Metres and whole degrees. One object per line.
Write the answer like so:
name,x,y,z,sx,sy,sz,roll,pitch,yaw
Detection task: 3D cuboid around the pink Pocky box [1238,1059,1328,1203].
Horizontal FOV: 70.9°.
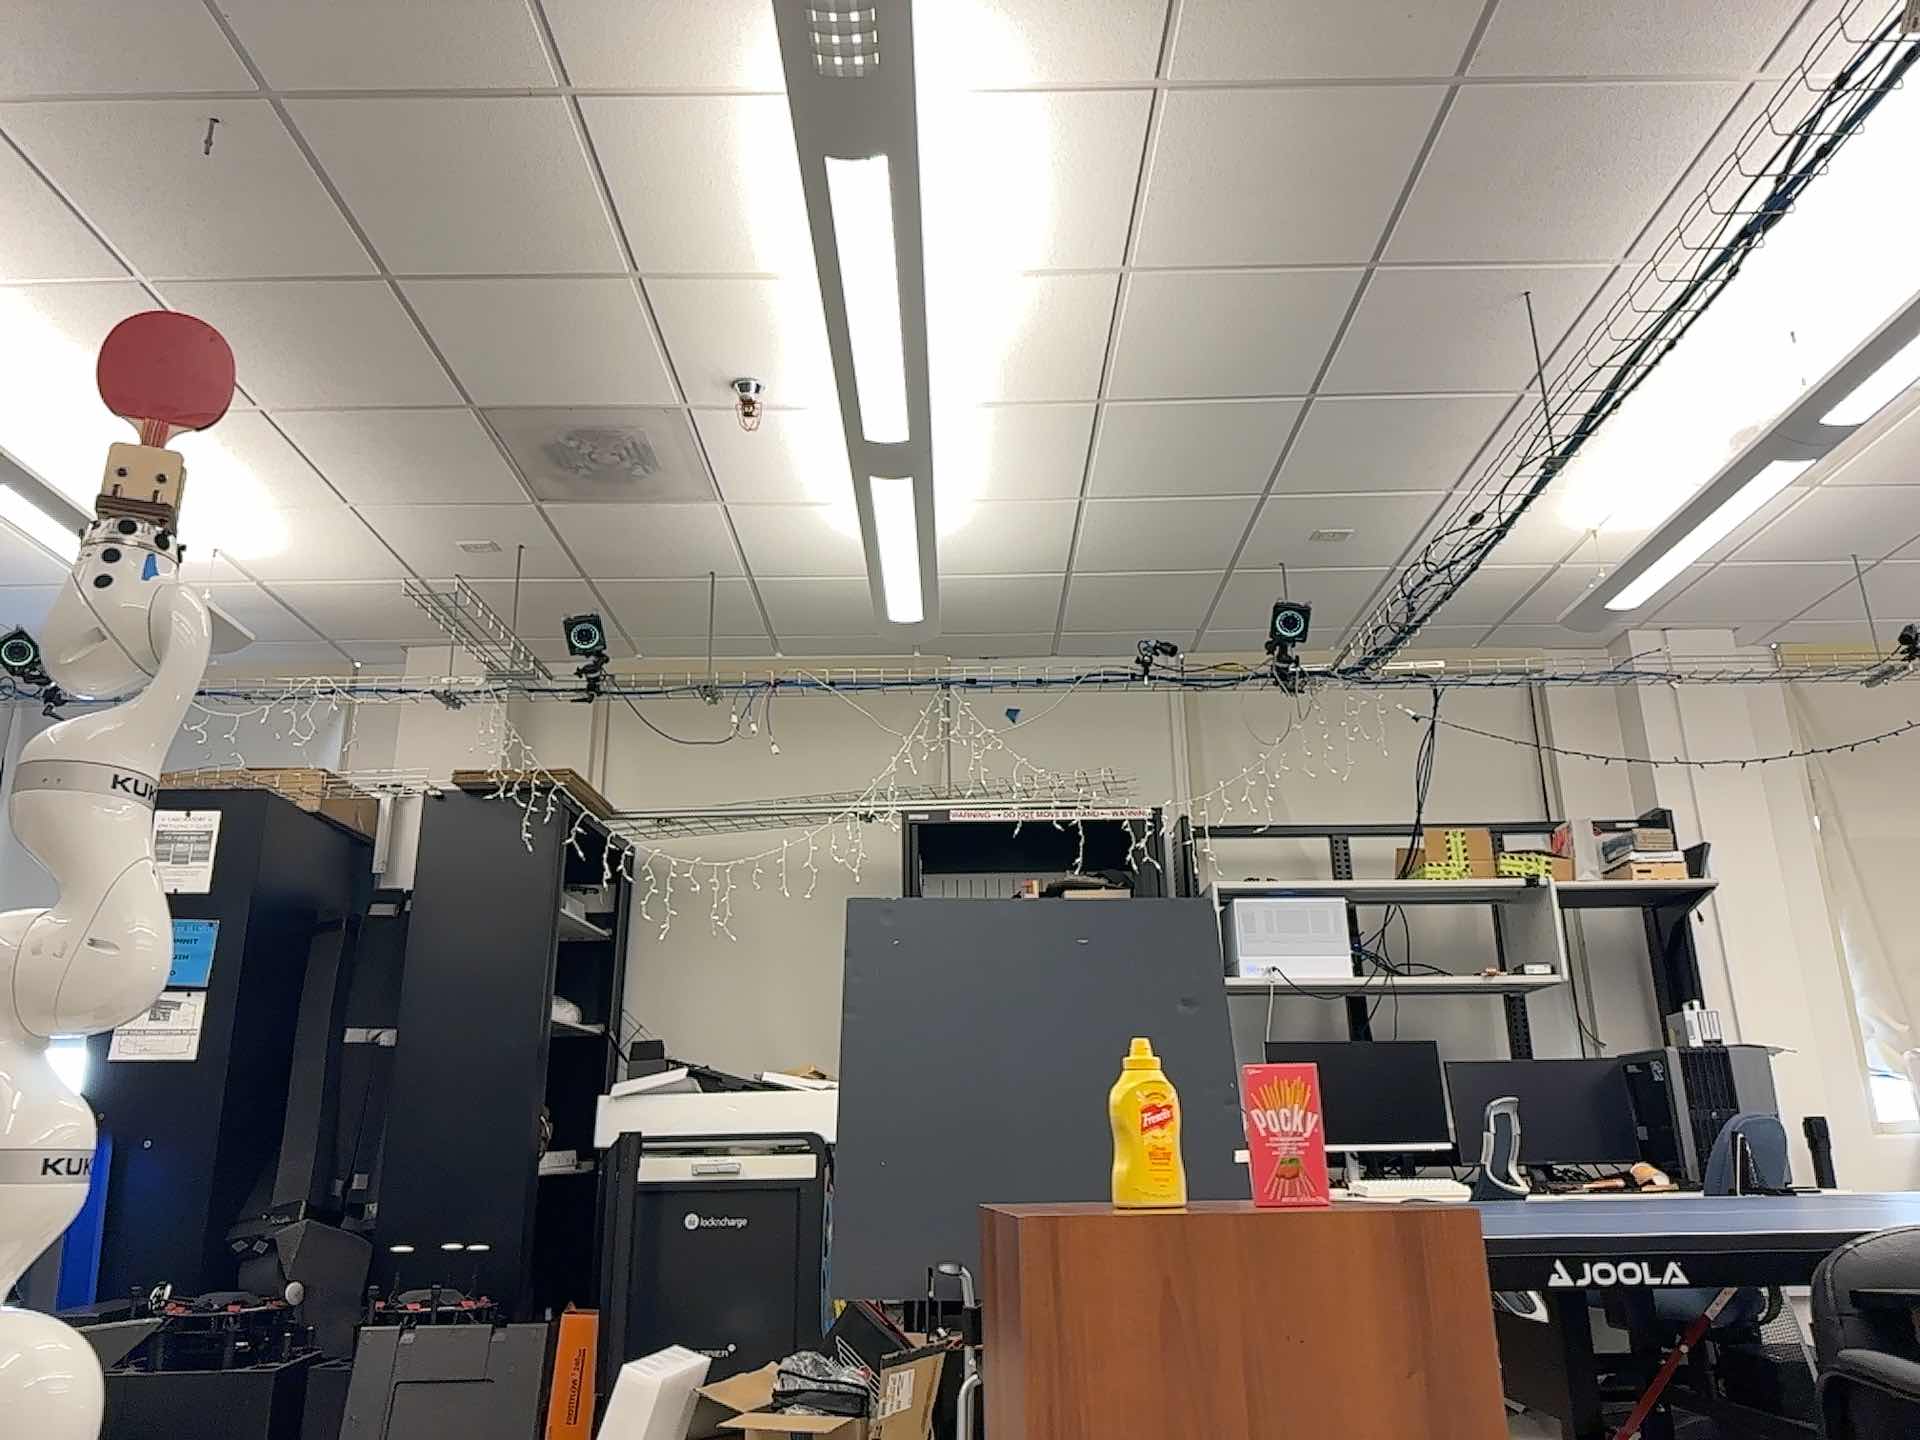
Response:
pink Pocky box,0.366,0.467,1.535,0.084,0.154,0.029,-3,-18,7

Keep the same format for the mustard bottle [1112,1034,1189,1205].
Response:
mustard bottle,0.210,0.448,1.523,0.092,0.184,0.054,8,-19,-26
